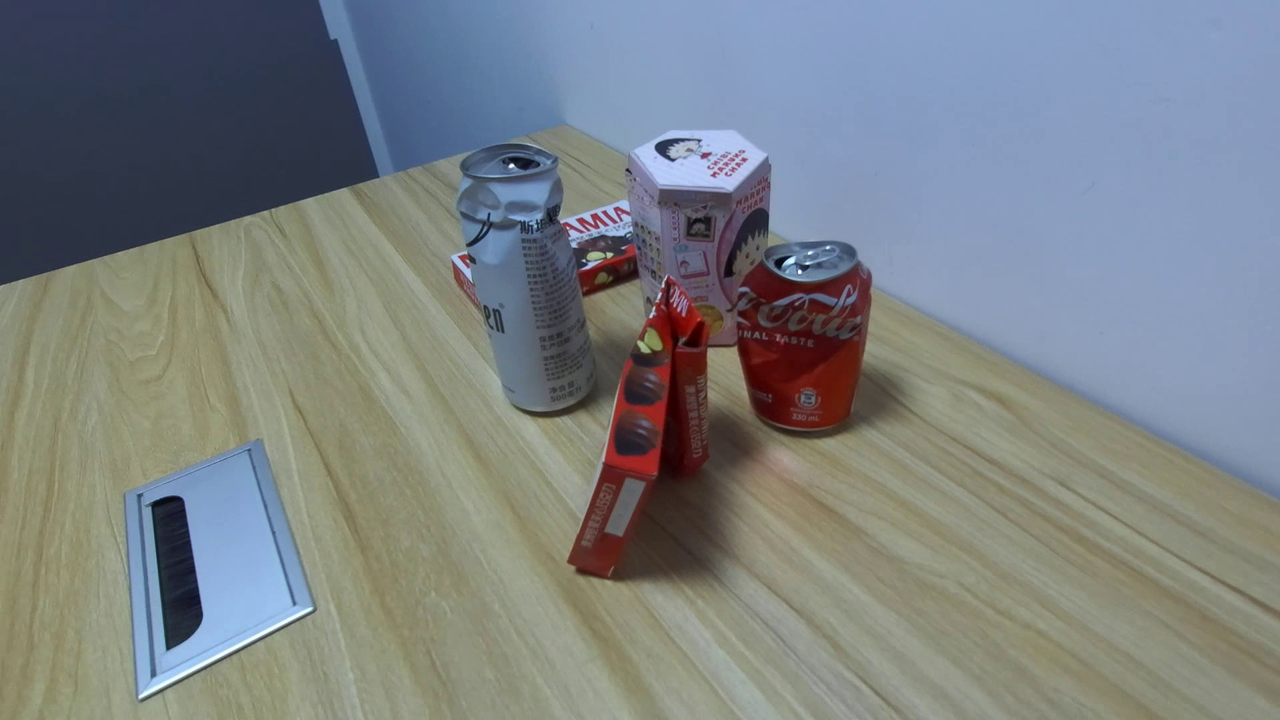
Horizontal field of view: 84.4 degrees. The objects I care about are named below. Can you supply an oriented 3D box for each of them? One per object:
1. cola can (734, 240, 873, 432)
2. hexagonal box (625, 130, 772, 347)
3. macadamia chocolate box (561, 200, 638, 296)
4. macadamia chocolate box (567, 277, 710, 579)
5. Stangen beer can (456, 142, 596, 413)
[{"bbox_3d":[0.100,-0.014,0.421,0.069,0.113,0.066,21,45,30],"label":"cola can"},{"bbox_3d":[0.043,-0.085,0.502,0.084,0.135,0.092,23,46,32],"label":"hexagonal box"},{"bbox_3d":[-0.057,-0.088,0.612,0.187,0.027,0.102,-23,44,-22],"label":"macadamia chocolate box"},{"bbox_3d":[0.001,0.036,0.371,0.056,0.112,0.126,10,39,16],"label":"macadamia chocolate box"},{"bbox_3d":[-0.067,-0.046,0.445,0.066,0.166,0.066,14,41,22],"label":"Stangen beer can"}]
